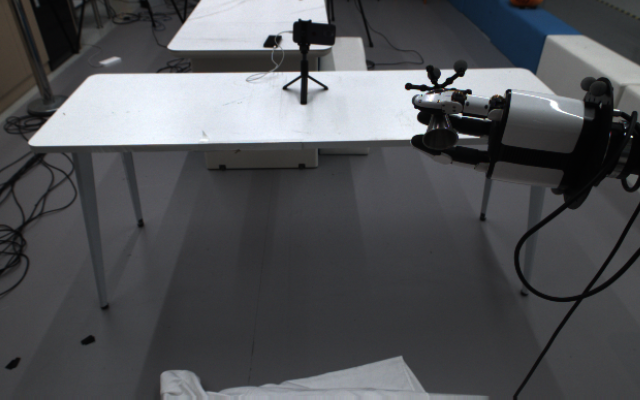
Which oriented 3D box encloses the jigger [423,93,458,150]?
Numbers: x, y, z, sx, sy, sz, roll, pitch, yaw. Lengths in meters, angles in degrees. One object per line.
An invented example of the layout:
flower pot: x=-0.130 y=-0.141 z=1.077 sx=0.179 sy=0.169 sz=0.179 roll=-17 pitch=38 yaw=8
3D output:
jigger: x=0.153 y=-0.105 z=0.627 sx=0.043 sy=0.043 sz=0.071 roll=4 pitch=61 yaw=3
